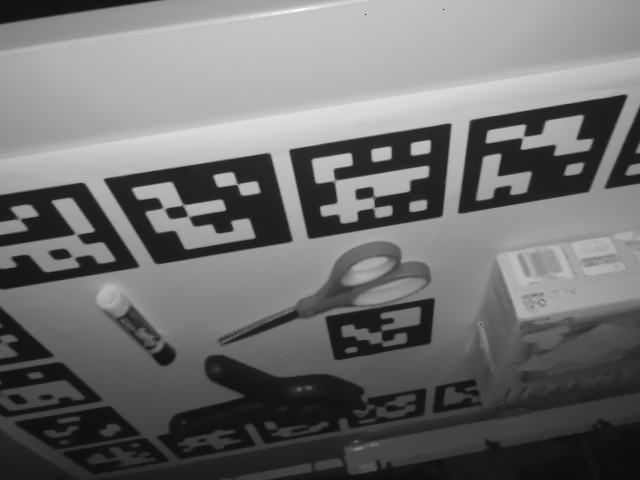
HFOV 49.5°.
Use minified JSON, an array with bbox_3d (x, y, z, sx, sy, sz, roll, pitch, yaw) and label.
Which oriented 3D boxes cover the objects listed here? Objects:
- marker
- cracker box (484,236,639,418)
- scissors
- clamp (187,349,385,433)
[{"bbox_3d":[-0.131,0.077,0.583,0.019,0.020,0.120,-12,144,3],"label":"marker"},{"bbox_3d":[0.252,0.087,0.647,0.165,0.072,0.212,-9,143,-2],"label":"cracker box"},{"bbox_3d":[0.011,0.057,0.592,0.200,0.016,0.088,-26,142,23],"label":"scissors"},{"bbox_3d":[-0.021,0.171,0.743,0.205,0.037,0.162,10,140,-24],"label":"clamp"}]
